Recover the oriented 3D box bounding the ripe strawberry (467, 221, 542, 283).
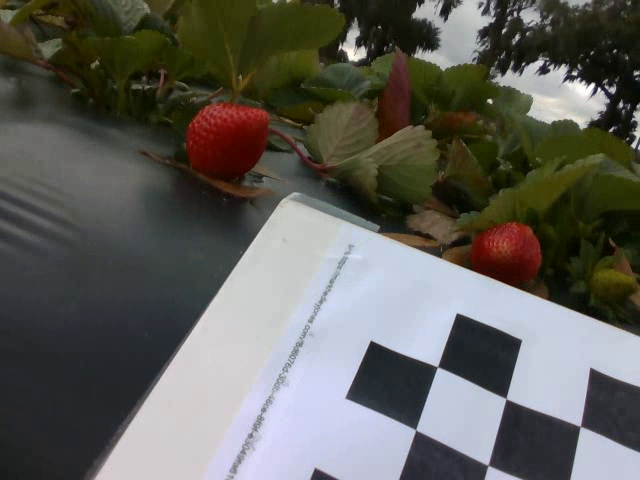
[{"bbox_3d":[0.092,0.006,0.277,0.040,0.037,0.042,32,7,16],"label":"ripe strawberry"}]

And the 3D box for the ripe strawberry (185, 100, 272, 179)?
[{"bbox_3d":[-0.045,-0.057,0.309,0.065,0.043,0.047,-16,31,51],"label":"ripe strawberry"}]
